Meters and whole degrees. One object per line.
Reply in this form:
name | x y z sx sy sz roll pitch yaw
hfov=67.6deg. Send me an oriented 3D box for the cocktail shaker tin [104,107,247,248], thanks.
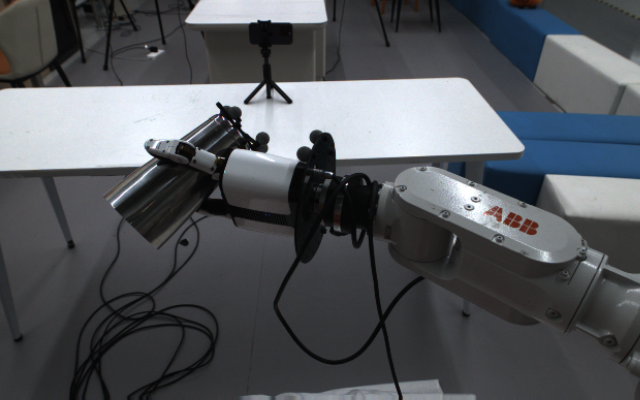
cocktail shaker tin | -0.173 -0.033 0.612 0.170 0.093 0.093 -43 50 -14
